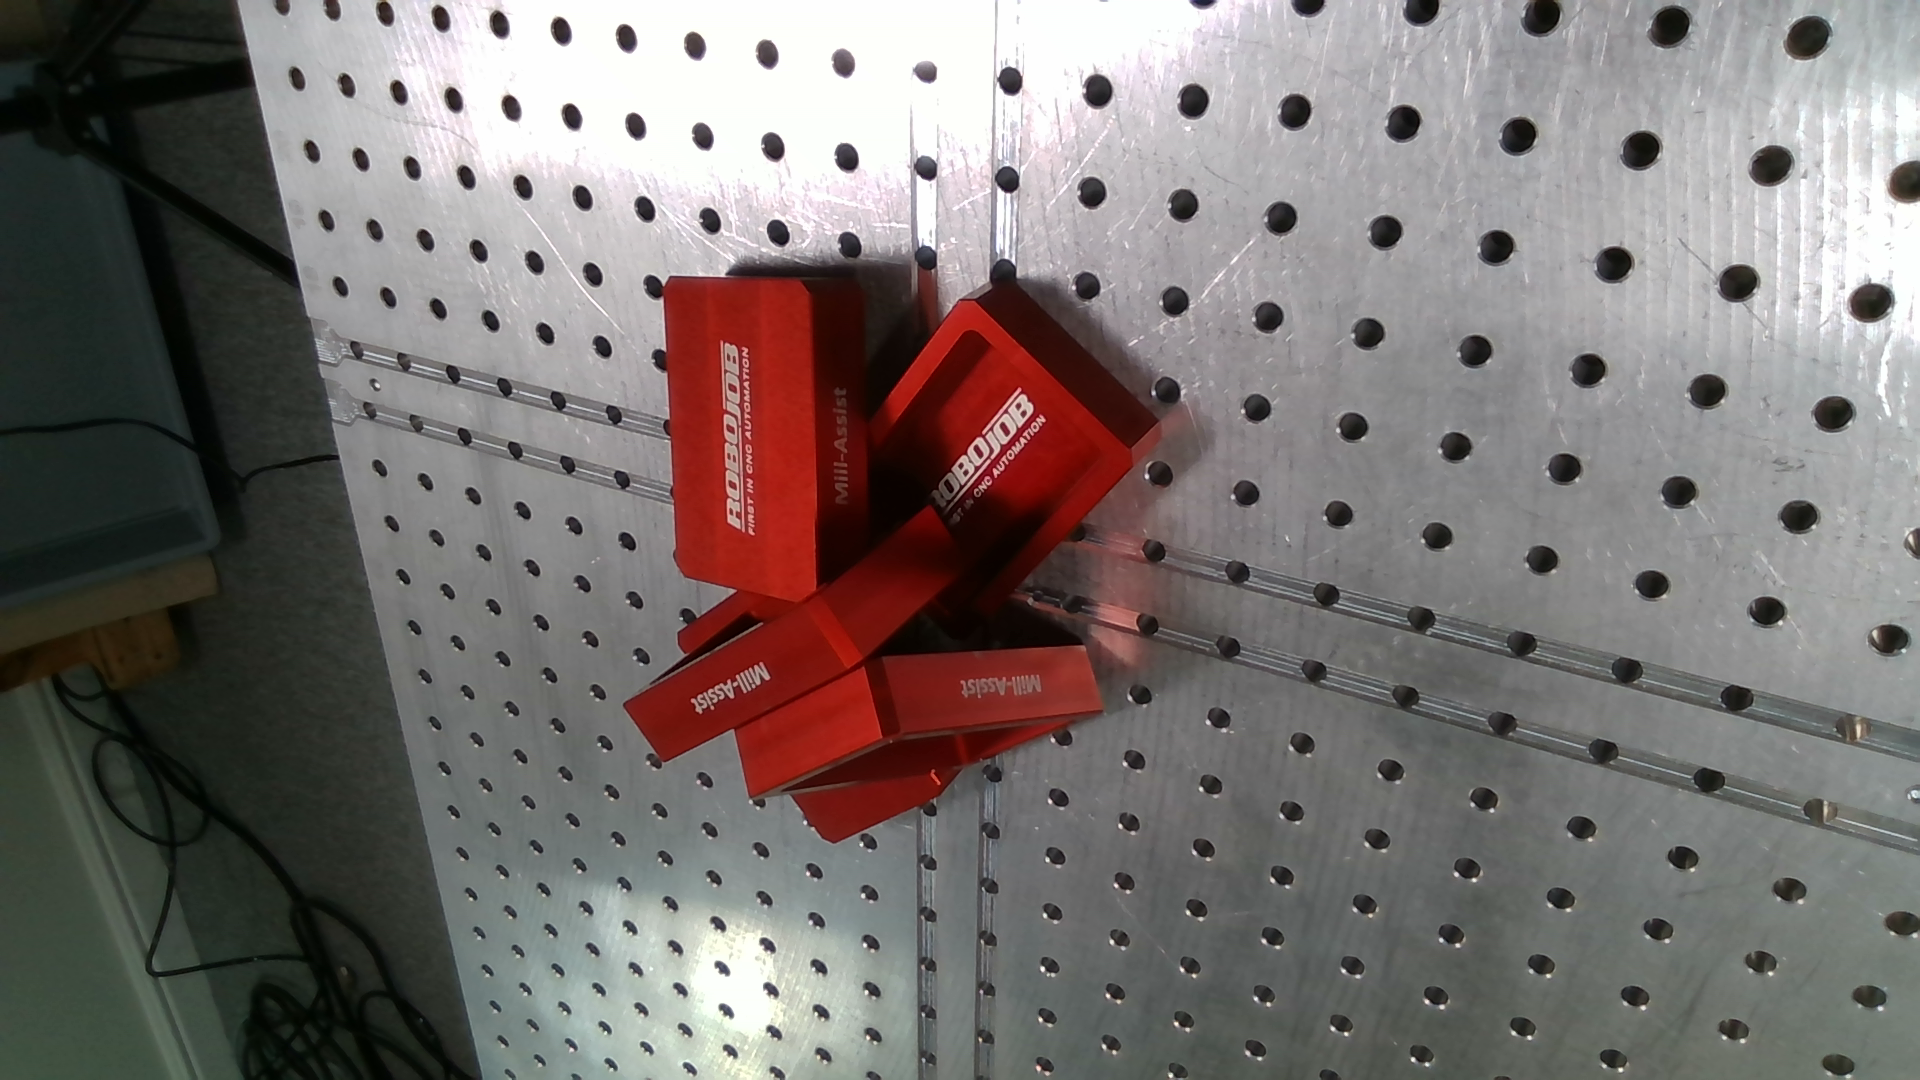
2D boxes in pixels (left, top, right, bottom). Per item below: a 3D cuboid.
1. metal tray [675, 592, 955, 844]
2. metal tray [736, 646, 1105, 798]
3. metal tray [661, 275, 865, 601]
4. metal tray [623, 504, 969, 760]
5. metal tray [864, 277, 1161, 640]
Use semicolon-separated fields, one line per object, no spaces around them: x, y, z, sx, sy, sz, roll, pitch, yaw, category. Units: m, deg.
-0.068;0.075;0.661;0.090;0.030;0.130;-32;96;39;metal tray
-0.014;0.074;0.565;0.090;0.130;0.030;-29;70;39;metal tray
-0.083;-0.044;0.575;0.090;0.030;0.130;10;106;39;metal tray
-0.068;0.038;0.564;0.130;0.090;0.030;-28;98;39;metal tray
0.008;-0.030;0.558;0.090;0.030;0.130;44;129;3;metal tray
